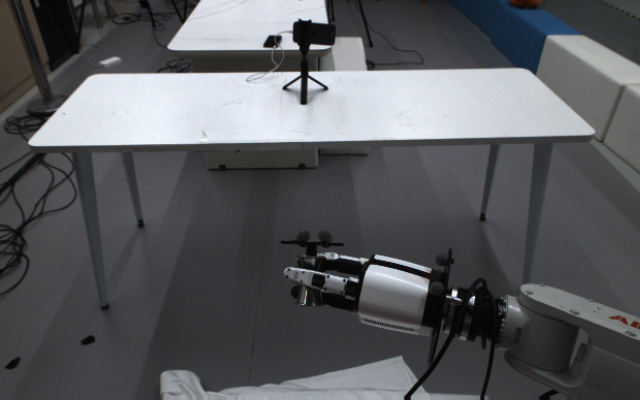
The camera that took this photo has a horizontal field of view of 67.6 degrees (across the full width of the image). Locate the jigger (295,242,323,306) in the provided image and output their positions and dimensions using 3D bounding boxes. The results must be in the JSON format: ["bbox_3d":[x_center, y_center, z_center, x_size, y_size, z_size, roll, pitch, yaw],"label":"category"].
[{"bbox_3d":[-0.013,0.111,0.680,0.043,0.071,0.043,2,-6,0],"label":"jigger"}]
